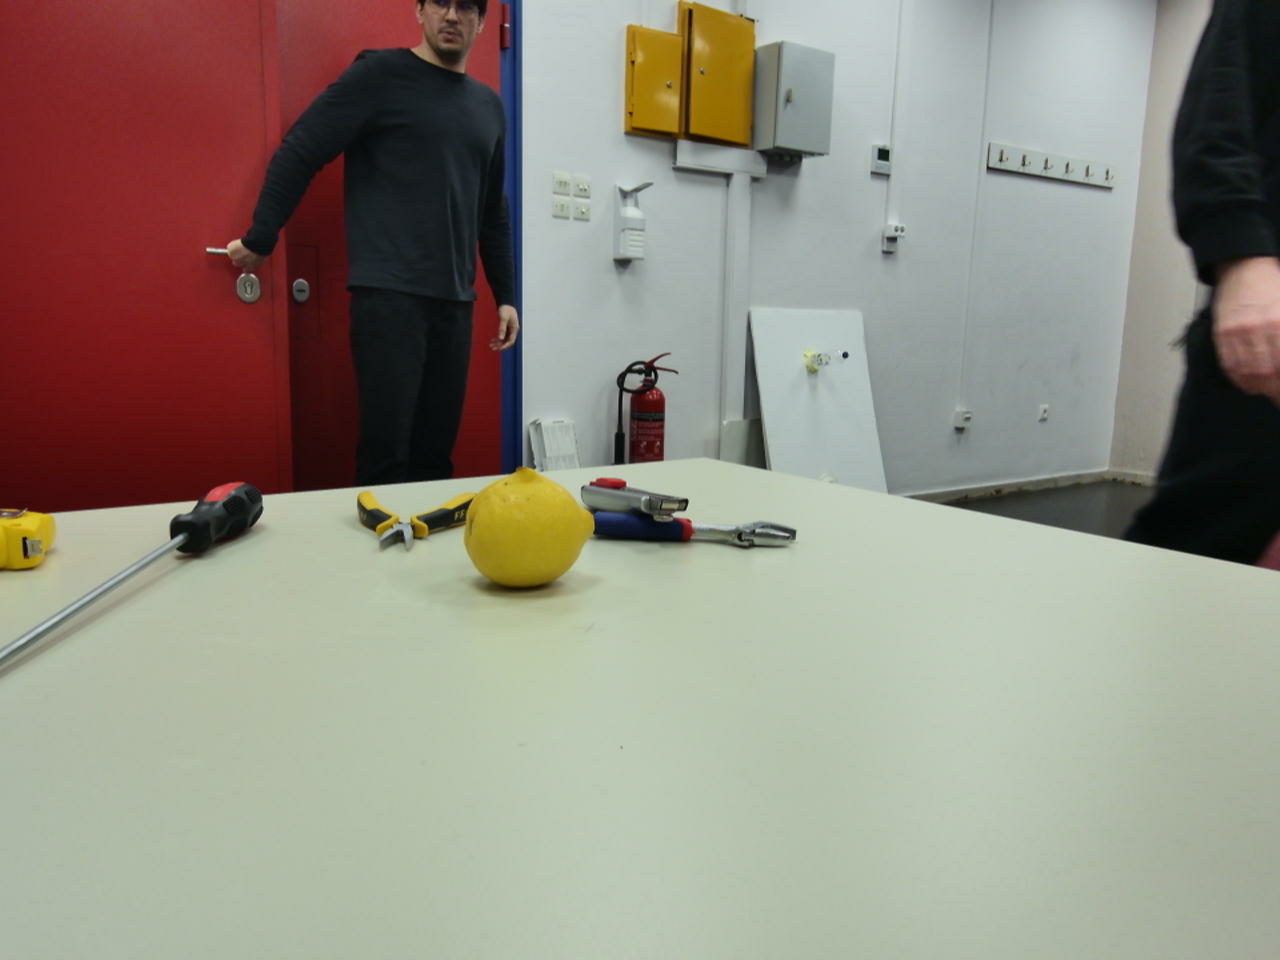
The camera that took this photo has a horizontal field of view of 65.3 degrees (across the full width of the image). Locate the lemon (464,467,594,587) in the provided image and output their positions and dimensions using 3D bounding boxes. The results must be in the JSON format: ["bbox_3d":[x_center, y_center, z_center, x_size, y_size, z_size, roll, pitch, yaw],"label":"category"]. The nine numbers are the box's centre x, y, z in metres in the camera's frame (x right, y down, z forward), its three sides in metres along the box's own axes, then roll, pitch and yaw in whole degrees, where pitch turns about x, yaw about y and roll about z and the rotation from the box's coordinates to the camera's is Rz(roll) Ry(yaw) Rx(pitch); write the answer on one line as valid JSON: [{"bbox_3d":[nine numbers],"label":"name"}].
[{"bbox_3d":[-0.069,0.027,0.593,0.071,0.071,0.070,2,8,20],"label":"lemon"}]
